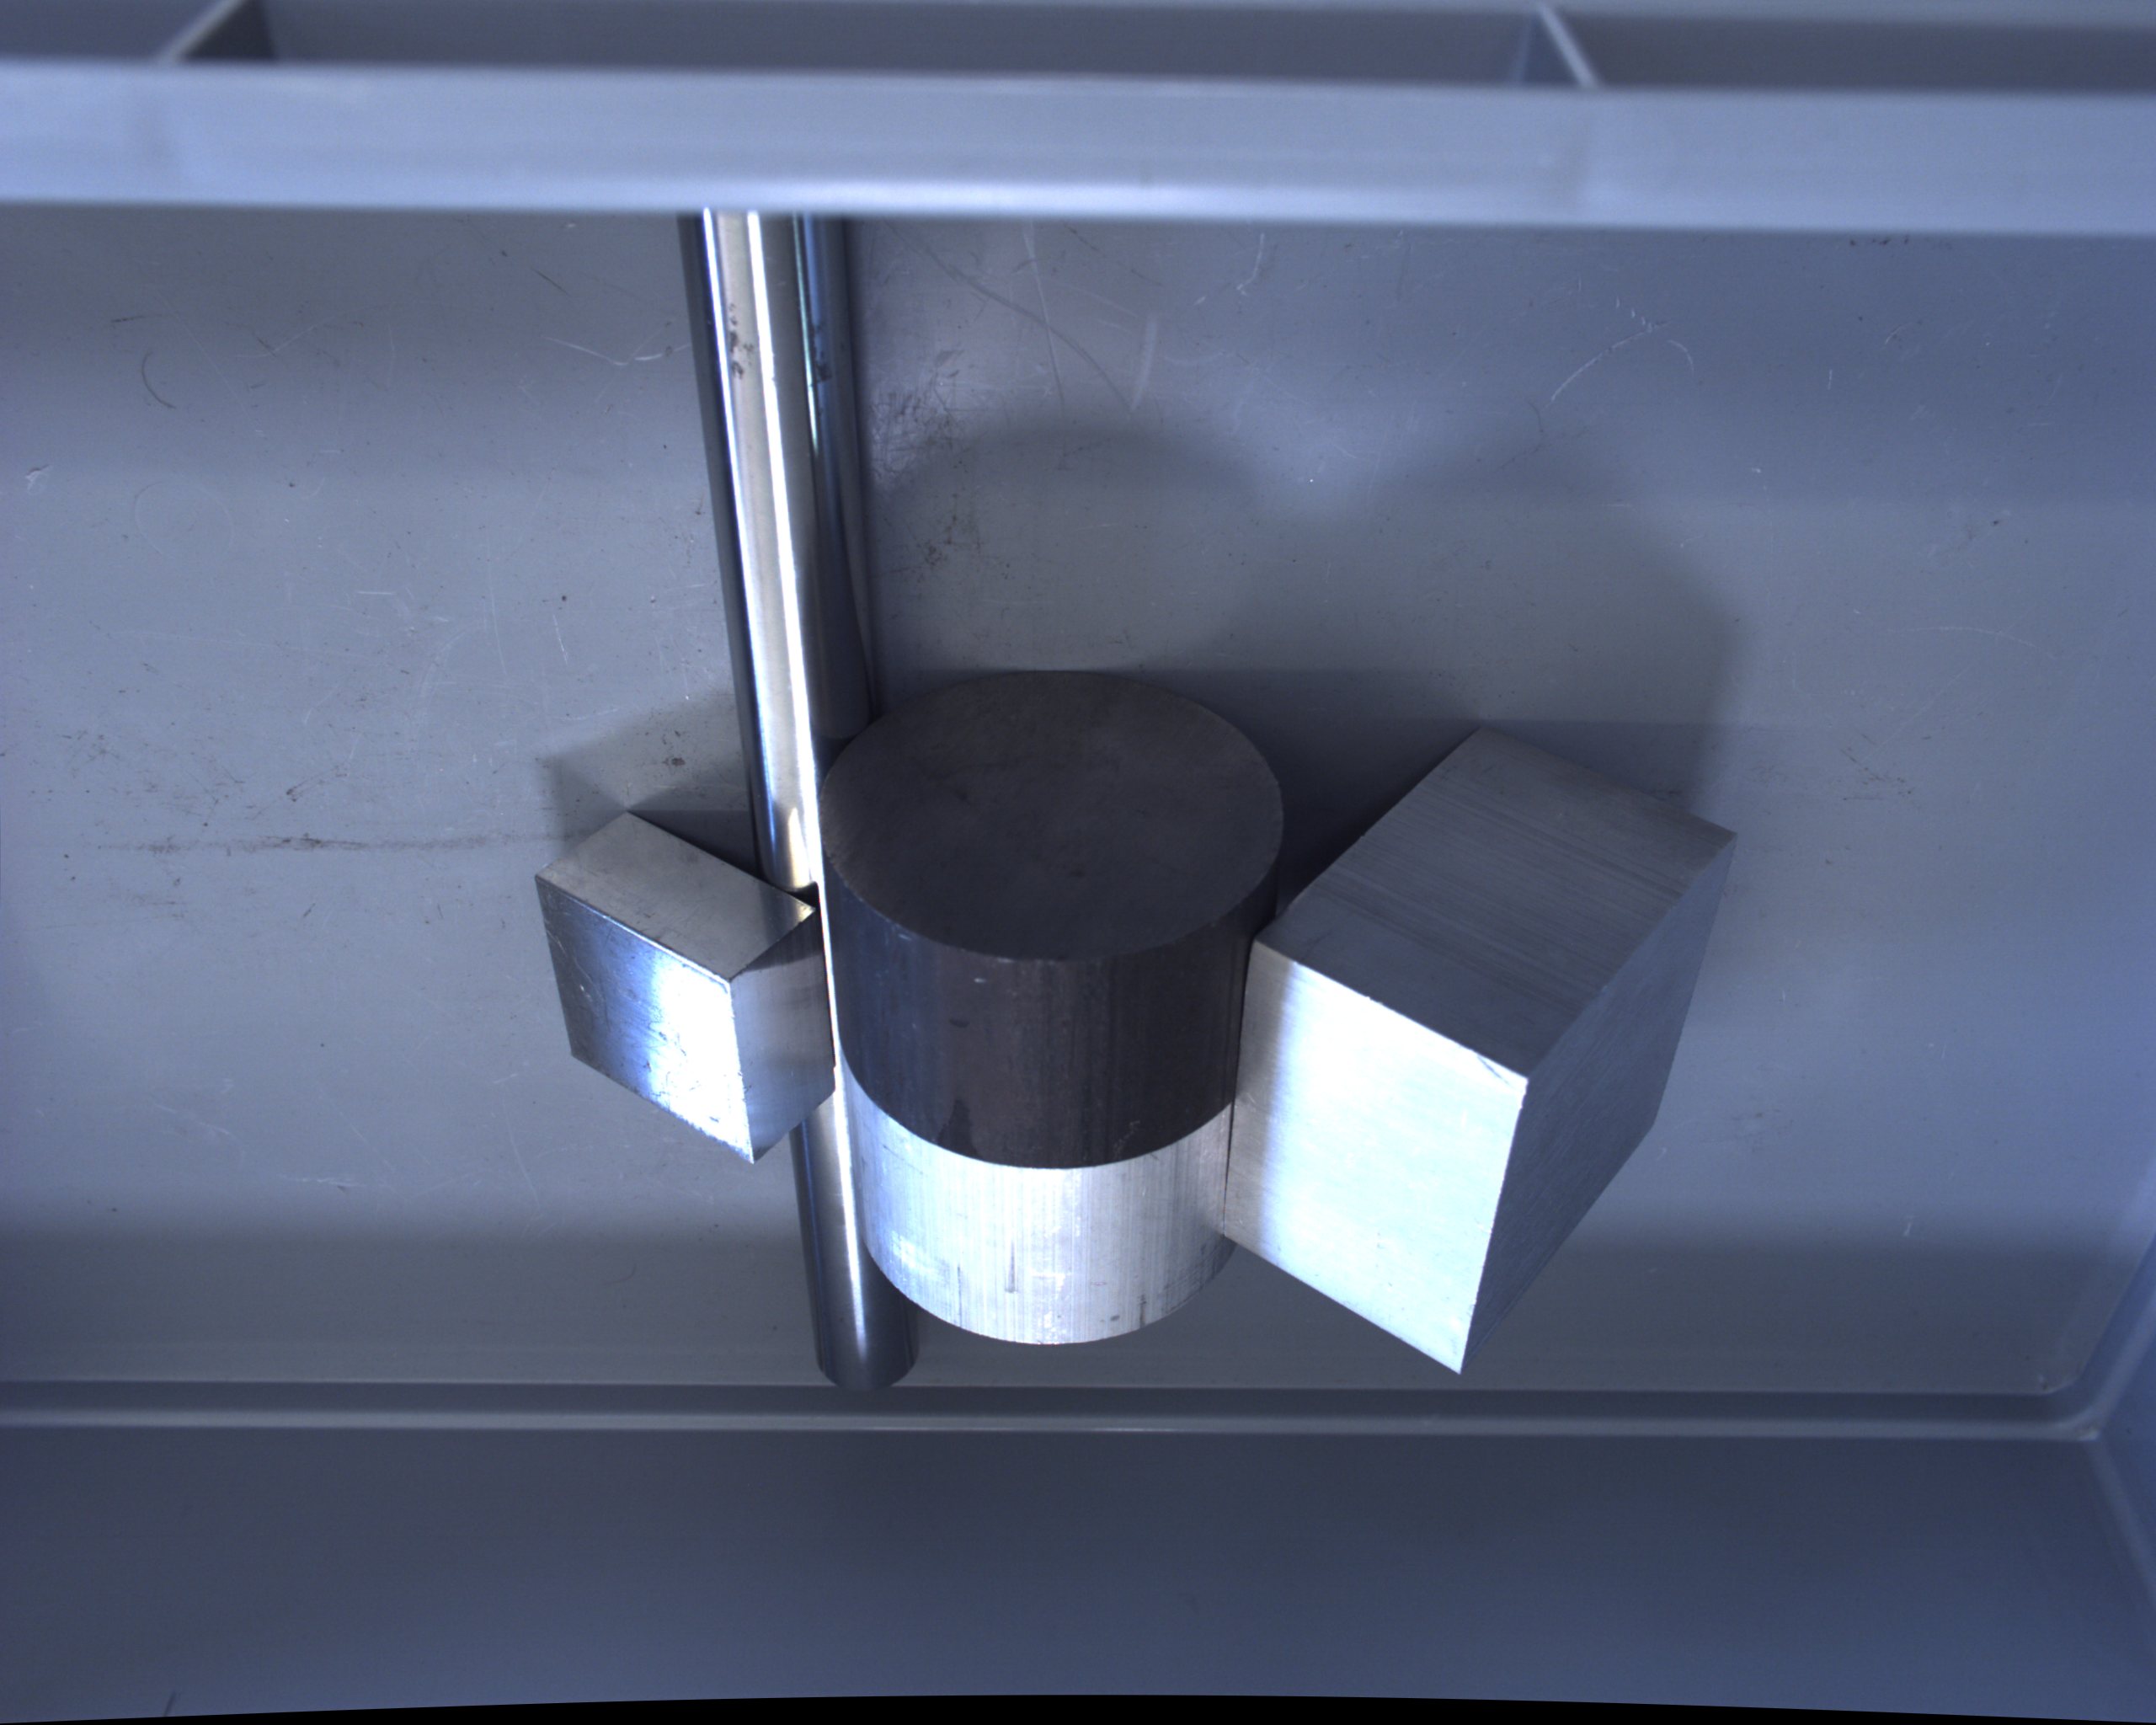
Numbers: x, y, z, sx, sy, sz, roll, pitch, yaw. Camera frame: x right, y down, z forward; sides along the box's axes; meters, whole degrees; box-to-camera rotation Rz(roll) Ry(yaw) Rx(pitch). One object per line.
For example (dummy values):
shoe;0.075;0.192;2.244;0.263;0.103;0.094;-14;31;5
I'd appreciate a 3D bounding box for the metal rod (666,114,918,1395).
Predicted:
metal rod;-0.050;0.006;0.410;0.025;0.025;0.298;0;130;0

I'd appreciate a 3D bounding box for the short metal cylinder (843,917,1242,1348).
short metal cylinder;-0.005;0.048;0.411;0.081;0.080;0.050;0;130;-1

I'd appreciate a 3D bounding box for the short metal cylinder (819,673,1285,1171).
short metal cylinder;-0.005;0.009;0.378;0.081;0.080;0.050;0;130;-1

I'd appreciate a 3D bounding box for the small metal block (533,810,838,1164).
small metal block;-0.077;0.024;0.412;0.050;0.025;0.050;24;135;25

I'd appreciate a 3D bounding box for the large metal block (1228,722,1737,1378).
large metal block;0.074;0.034;0.390;0.050;0.080;0.079;27;137;27
